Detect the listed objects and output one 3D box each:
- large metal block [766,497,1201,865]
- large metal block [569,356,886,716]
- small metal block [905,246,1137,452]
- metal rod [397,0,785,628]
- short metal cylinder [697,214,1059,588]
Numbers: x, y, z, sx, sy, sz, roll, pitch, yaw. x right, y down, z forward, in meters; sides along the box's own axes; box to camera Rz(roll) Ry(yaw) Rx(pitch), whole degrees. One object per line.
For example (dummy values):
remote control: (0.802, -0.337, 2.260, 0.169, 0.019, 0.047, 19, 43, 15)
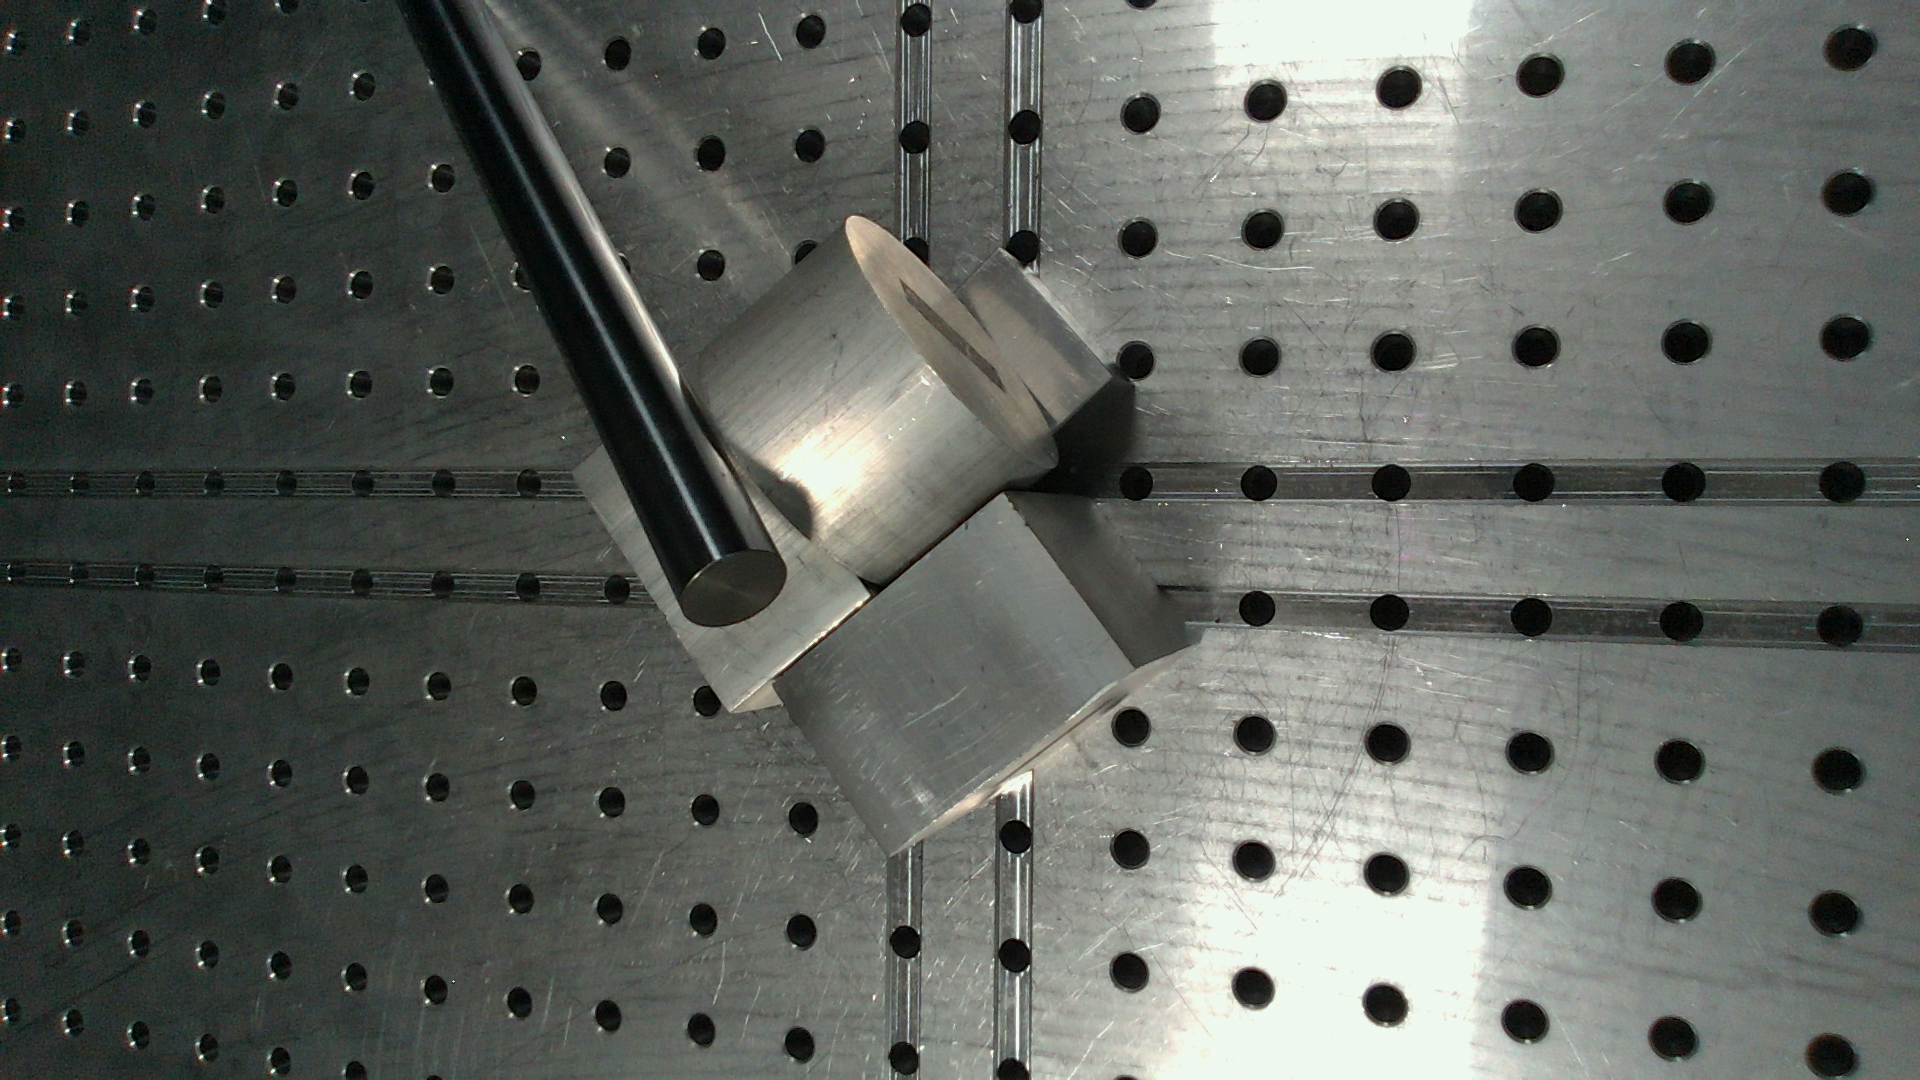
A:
large metal block: (0.010, 0.034, 0.364, 0.080, 0.080, 0.050, -39, 77, 16)
large metal block: (-0.048, -0.002, 0.387, 0.050, 0.080, 0.080, -39, 78, 16)
small metal block: (0.013, -0.046, 0.394, 0.050, 0.025, 0.050, -43, 77, 15)
metal rod: (-0.118, -0.094, 0.385, 0.025, 0.025, 0.299, -43, 55, 15)
short metal cylinder: (-0.020, -0.035, 0.349, 0.050, 0.080, 0.080, -38, 78, 16)
